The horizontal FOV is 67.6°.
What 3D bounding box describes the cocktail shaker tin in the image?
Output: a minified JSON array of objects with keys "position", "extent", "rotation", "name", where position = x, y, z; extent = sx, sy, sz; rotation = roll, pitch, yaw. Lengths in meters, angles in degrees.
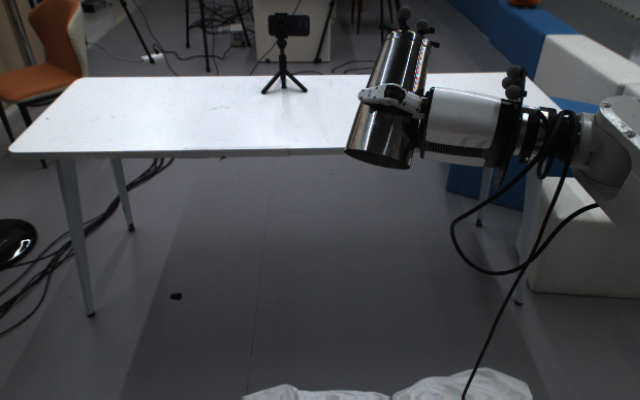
[{"position":[0.098,-0.137,0.658],"extent":[0.093,0.170,0.093],"rotation":[16,-4,1],"name":"cocktail shaker tin"}]
